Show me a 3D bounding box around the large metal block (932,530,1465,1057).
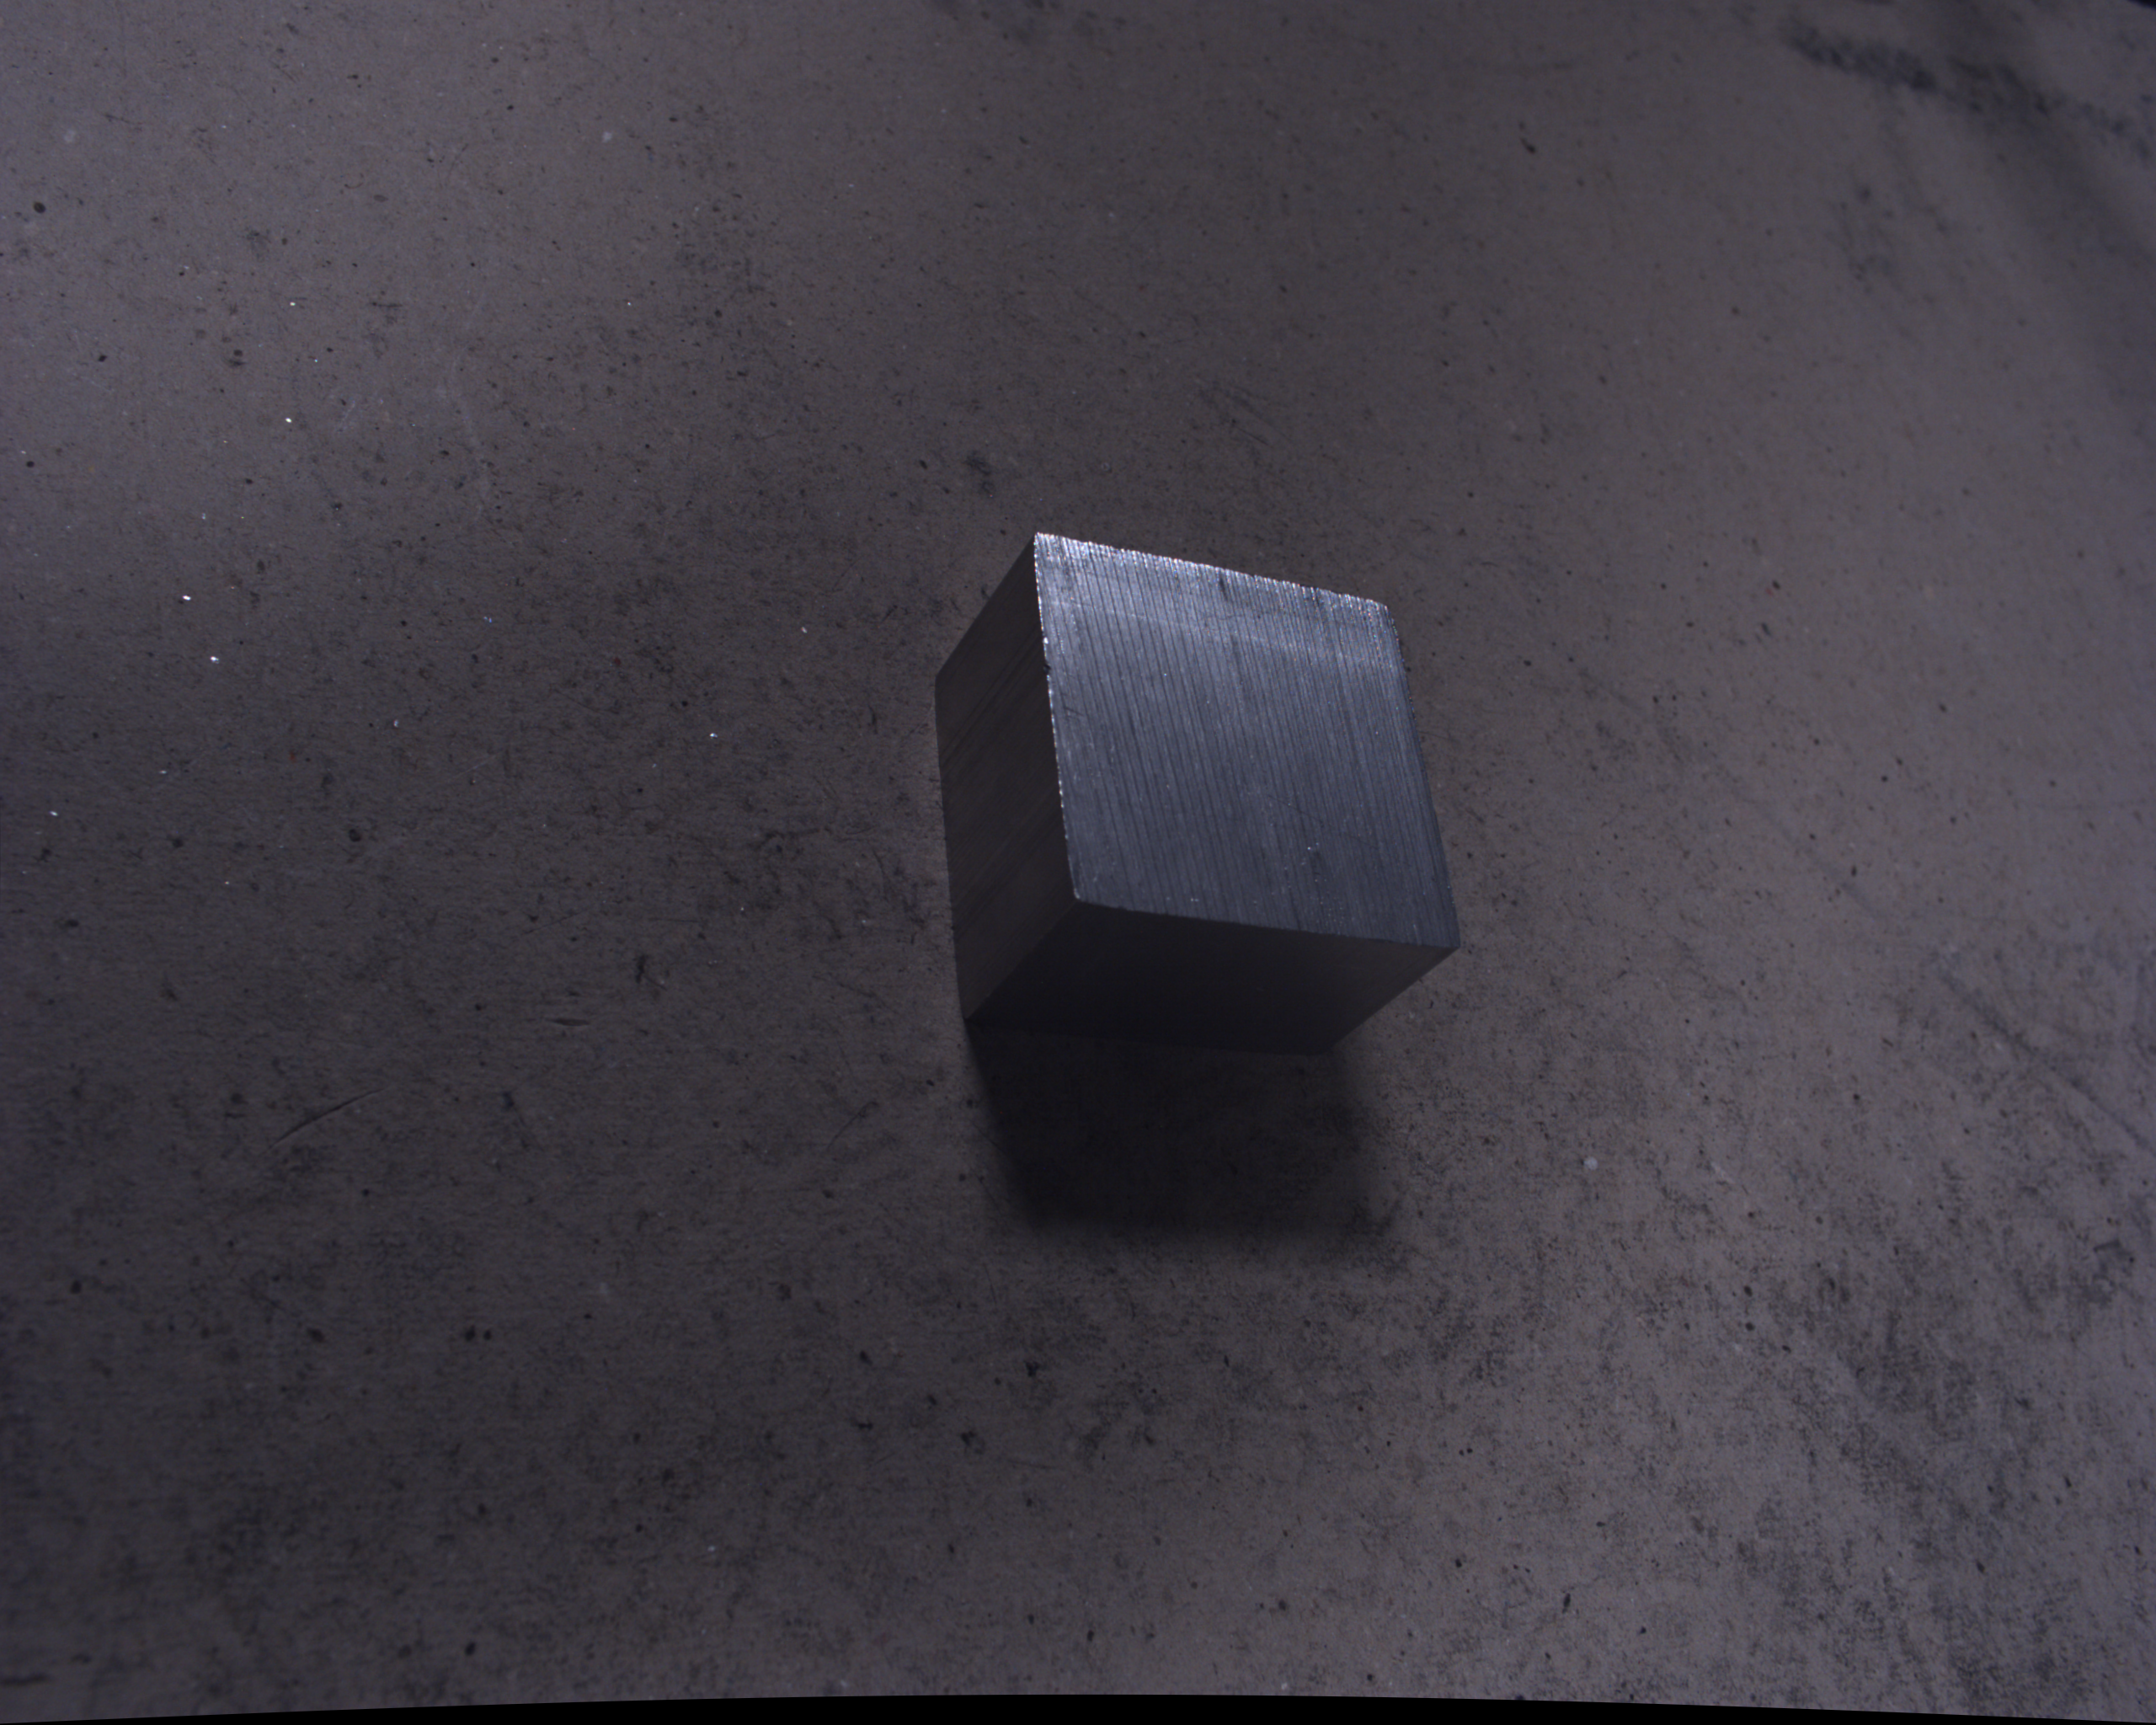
[{"bbox_3d":[0.021,-0.011,0.409,0.081,0.050,0.080,8,58,-25],"label":"large metal block"}]
